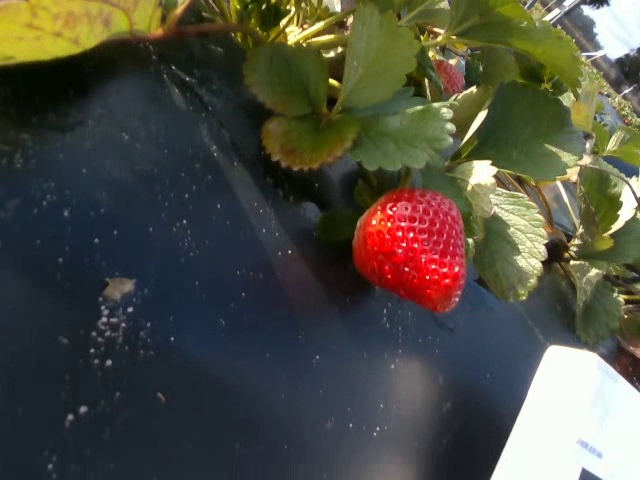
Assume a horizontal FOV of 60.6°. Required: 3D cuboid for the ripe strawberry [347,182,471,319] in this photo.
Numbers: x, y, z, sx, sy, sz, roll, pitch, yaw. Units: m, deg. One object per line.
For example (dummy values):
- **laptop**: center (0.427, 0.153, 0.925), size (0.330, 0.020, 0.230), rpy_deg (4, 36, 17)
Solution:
- **ripe strawberry**: center (0.030, 0.005, 0.157), size (0.041, 0.041, 0.047), rpy_deg (1, 36, -22)
